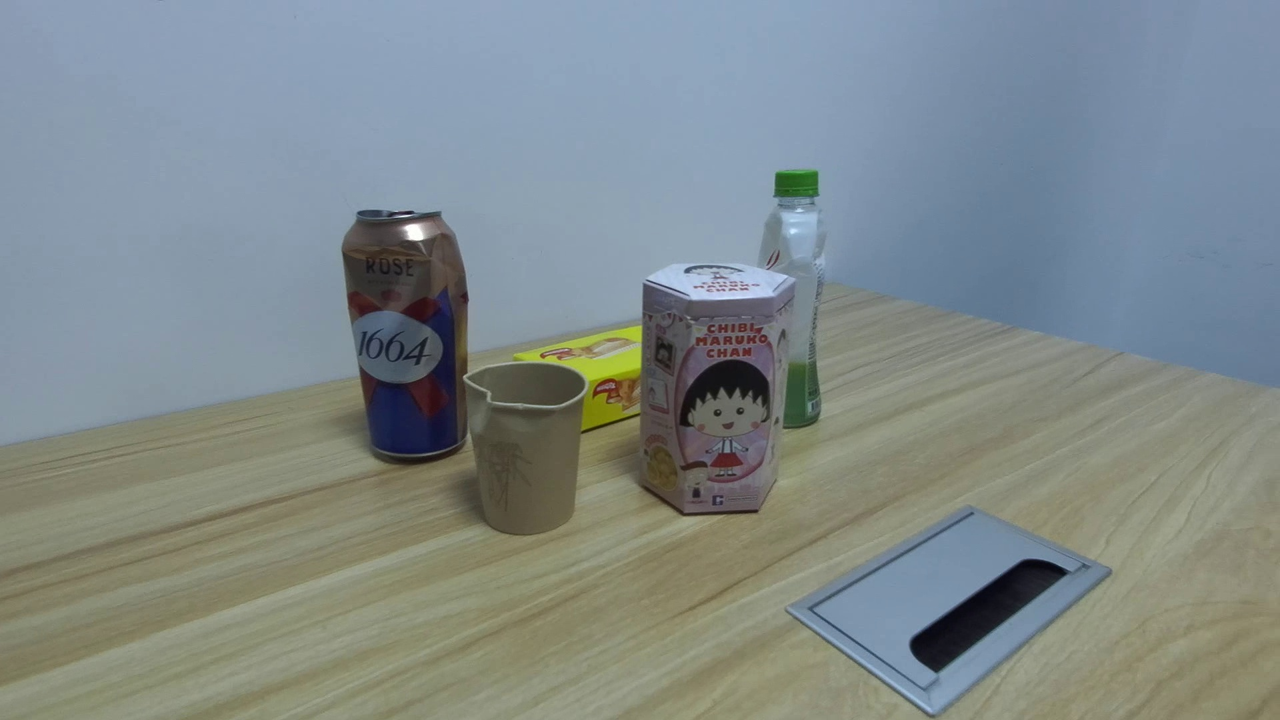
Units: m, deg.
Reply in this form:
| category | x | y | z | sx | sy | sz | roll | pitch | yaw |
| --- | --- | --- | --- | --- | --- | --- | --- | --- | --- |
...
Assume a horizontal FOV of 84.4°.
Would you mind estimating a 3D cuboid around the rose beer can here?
| category | x | y | z | sx | sy | sz | roll | pitch | yaw |
| --- | --- | --- | --- | --- | --- | --- | --- | --- | --- |
| rose beer can | -0.156 | -0.017 | 0.485 | 0.075 | 0.167 | 0.065 | 9 | 20 | 29 |

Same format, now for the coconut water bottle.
| category | x | y | z | sx | sy | sz | roll | pitch | yaw |
| --- | --- | --- | --- | --- | --- | --- | --- | --- | --- |
| coconut water bottle | 0.112 | -0.046 | 0.530 | 0.067 | 0.187 | 0.067 | 1 | 18 | 0 |

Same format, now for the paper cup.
| category | x | y | z | sx | sy | sz | roll | pitch | yaw |
| --- | --- | --- | --- | --- | --- | --- | --- | --- | --- |
| paper cup | -0.065 | 0.051 | 0.411 | 0.073 | 0.081 | 0.069 | 2 | 18 | 1 |

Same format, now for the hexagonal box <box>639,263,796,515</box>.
| category | x | y | z | sx | sy | sz | roll | pitch | yaw |
| --- | --- | --- | --- | --- | --- | --- | --- | --- | --- |
| hexagonal box | 0.046 | 0.016 | 0.430 | 0.091 | 0.136 | 0.083 | -2 | 20 | -6 |

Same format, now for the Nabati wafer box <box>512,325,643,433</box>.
| category | x | y | z | sx | sy | sz | roll | pitch | yaw |
| --- | --- | --- | --- | --- | --- | --- | --- | --- | --- |
| Nabati wafer box | 0.010 | 0.006 | 0.599 | 0.204 | 0.042 | 0.096 | -11 | 23 | -24 |
